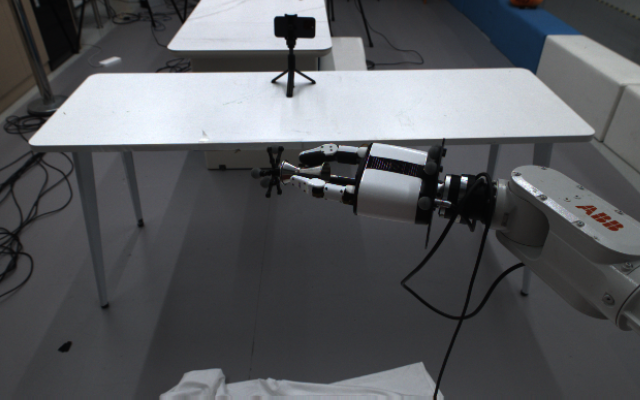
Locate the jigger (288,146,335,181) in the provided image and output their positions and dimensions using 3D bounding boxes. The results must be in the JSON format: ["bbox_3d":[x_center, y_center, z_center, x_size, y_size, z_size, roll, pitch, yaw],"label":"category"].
[{"bbox_3d":[-0.015,-0.046,0.739,0.071,0.043,0.043,5,34,20],"label":"jigger"}]
